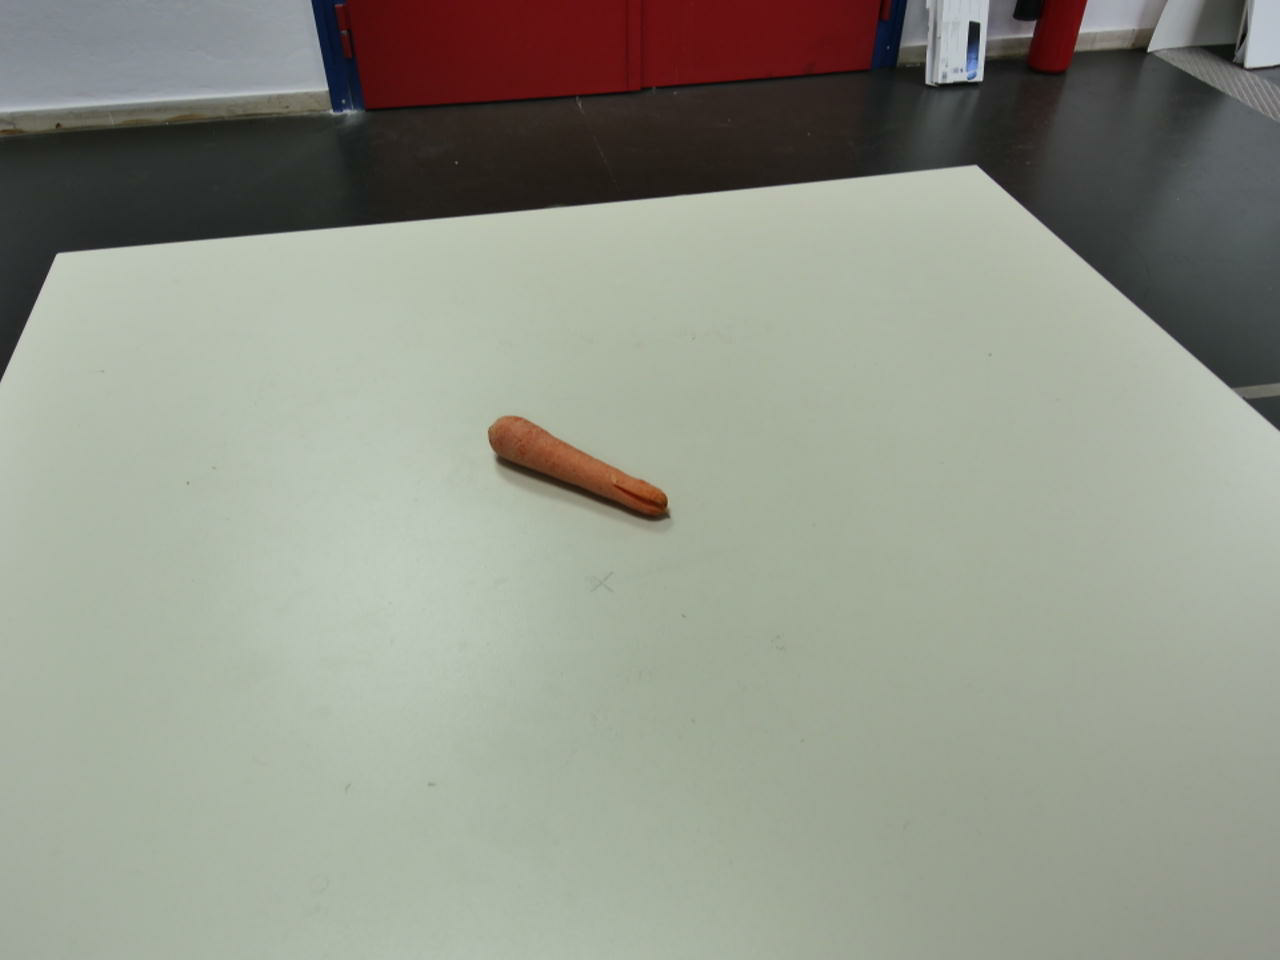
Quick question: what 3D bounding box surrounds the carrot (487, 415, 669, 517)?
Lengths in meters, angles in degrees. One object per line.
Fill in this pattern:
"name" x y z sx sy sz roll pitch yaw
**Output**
"carrot" -0.041 -0.009 0.632 0.136 0.032 0.030 22 44 25
